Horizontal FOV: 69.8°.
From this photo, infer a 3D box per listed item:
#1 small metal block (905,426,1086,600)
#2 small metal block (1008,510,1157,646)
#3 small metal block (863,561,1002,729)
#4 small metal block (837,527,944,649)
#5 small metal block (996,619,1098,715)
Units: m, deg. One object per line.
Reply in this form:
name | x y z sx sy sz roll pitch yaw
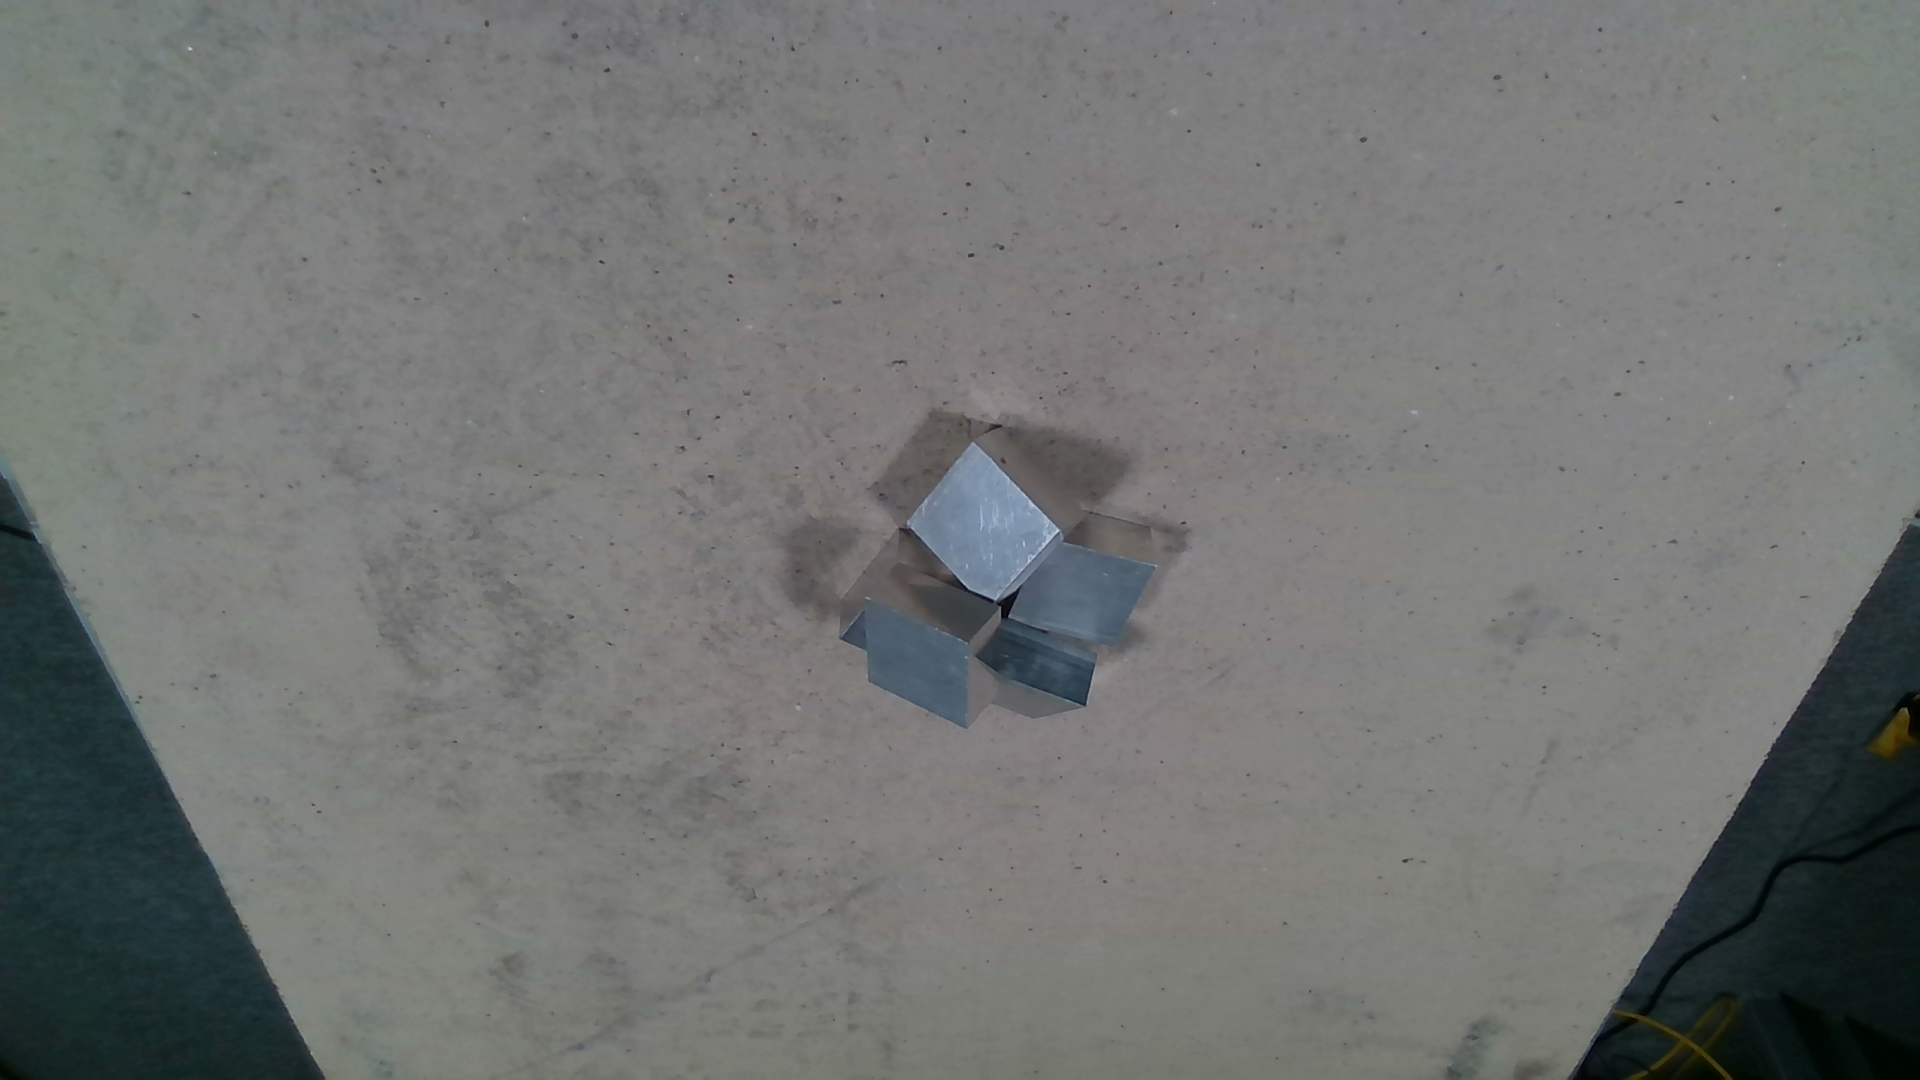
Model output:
small metal block | 0.014 -0.009 0.557 0.050 0.025 0.050 47 124 9
small metal block | 0.050 0.014 0.592 0.050 0.025 0.050 13 129 -11
small metal block | -0.011 0.043 0.569 0.050 0.025 0.050 22 135 24
small metal block | -0.019 0.029 0.604 0.050 0.025 0.050 26 125 -20
small metal block | 0.025 0.057 0.613 0.050 0.025 0.050 22 160 -17
